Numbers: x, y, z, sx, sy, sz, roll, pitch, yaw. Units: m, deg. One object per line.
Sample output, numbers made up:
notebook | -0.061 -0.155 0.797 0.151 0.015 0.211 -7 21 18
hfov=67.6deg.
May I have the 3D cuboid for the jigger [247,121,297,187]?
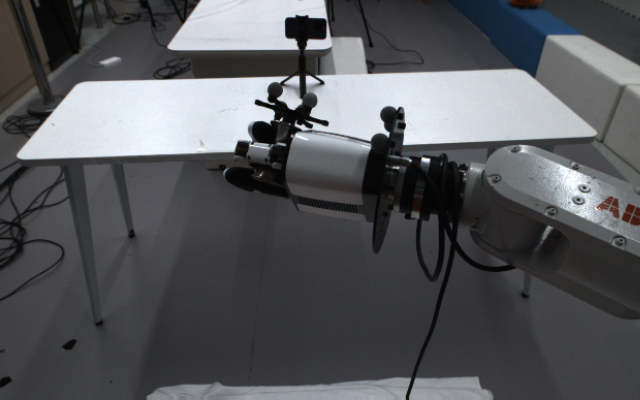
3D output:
jigger | -0.047 -0.052 0.553 0.043 0.071 0.043 18 -6 2
